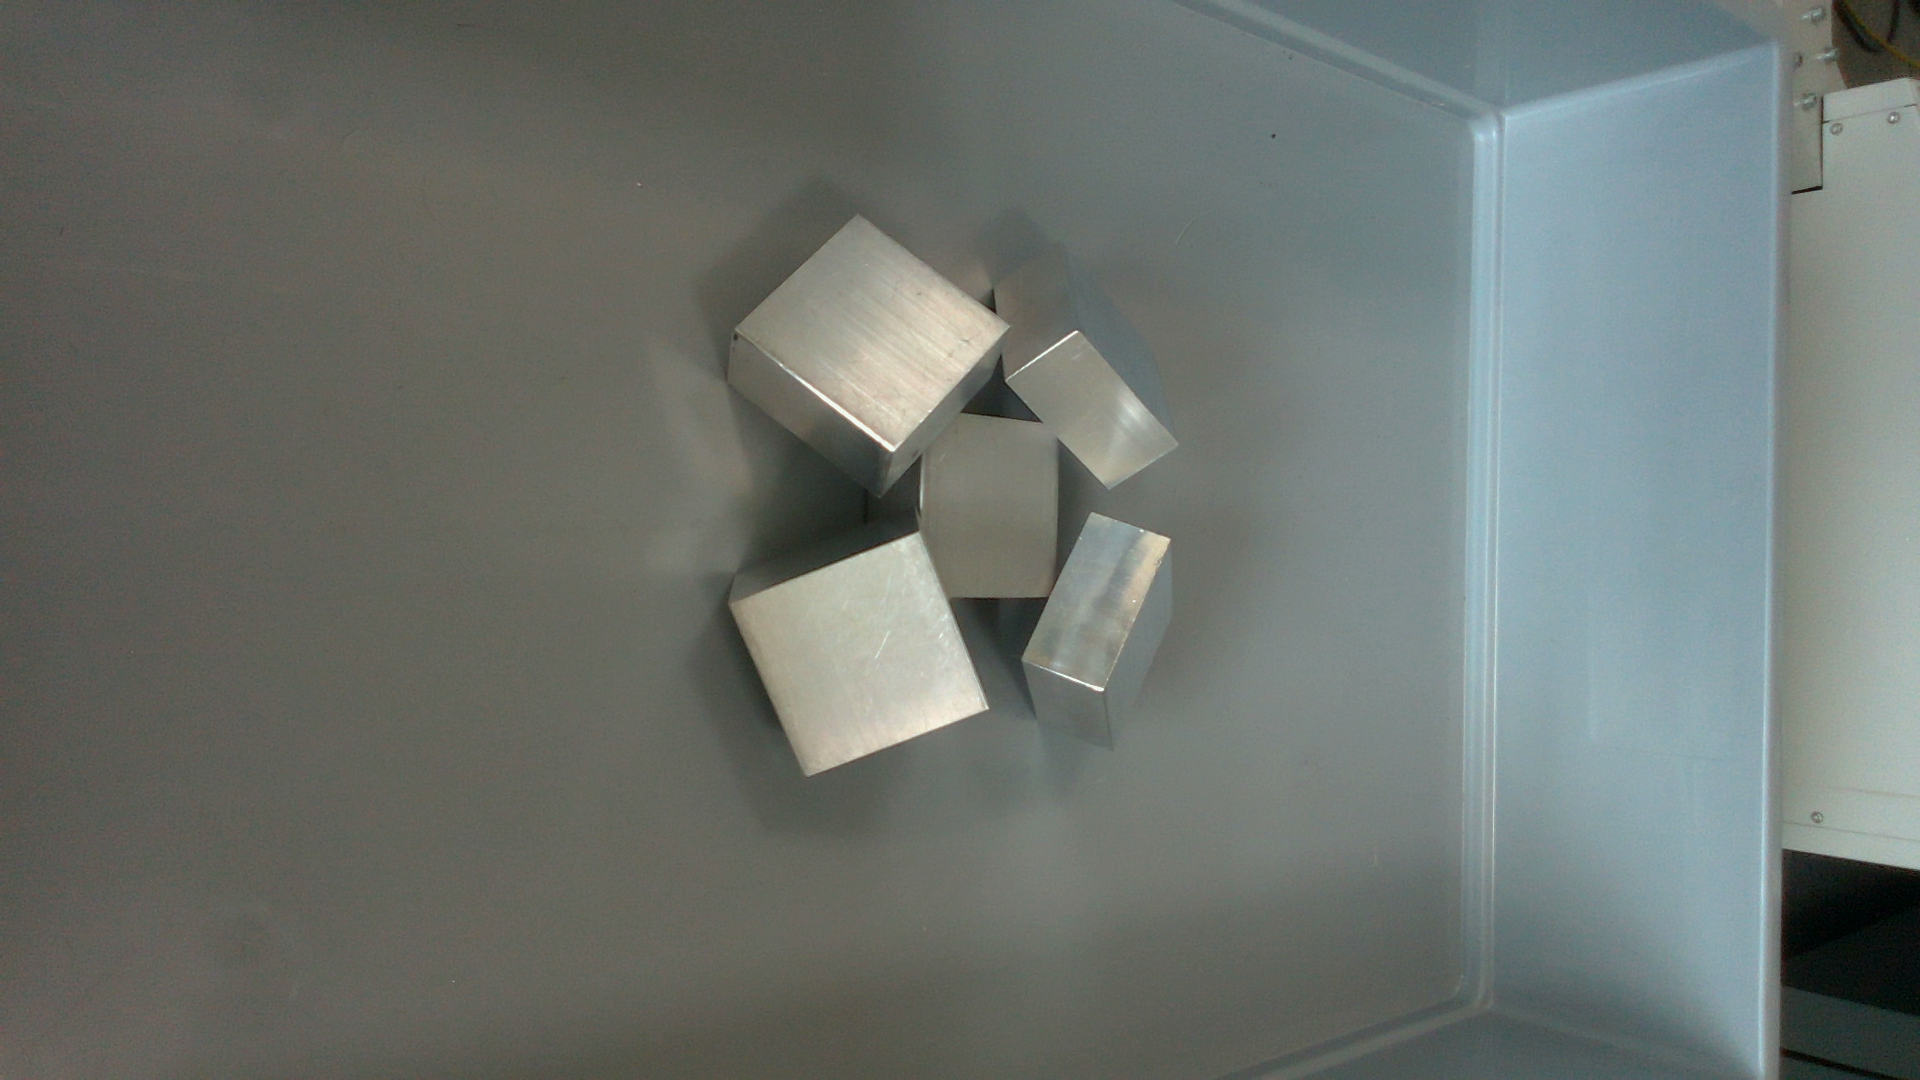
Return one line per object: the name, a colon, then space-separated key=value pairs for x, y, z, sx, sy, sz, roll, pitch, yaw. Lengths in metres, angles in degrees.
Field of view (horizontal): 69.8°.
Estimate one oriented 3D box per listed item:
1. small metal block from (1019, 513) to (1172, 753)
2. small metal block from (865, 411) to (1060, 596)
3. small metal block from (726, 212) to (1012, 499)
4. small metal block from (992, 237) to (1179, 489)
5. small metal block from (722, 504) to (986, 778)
small metal block: x=0.042 y=0.028 z=0.407 sx=0.050 sy=0.025 sz=0.050 roll=-63 pitch=159 yaw=-21
small metal block: x=0.001 y=-0.010 z=0.387 sx=0.050 sy=0.025 sz=0.050 roll=2 pitch=89 yaw=-40
small metal block: x=-0.023 y=-0.047 z=0.351 sx=0.050 sy=0.025 sz=0.050 roll=37 pitch=62 yaw=7
small metal block: x=0.036 y=-0.052 z=0.401 sx=0.050 sy=0.025 sz=0.050 roll=43 pitch=27 yaw=-32
small metal block: x=-0.026 y=0.025 z=0.350 sx=0.050 sy=0.025 sz=0.050 roll=-20 pitch=106 yaw=1
